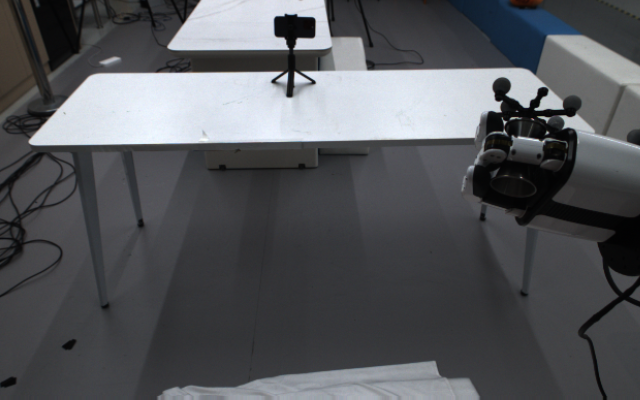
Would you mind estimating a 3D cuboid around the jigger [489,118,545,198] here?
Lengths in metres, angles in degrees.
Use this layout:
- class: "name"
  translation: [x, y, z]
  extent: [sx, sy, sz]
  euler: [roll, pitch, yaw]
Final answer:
- class: "jigger"
  translation: [0.201, -0.043, 0.488]
  extent: [0.043, 0.043, 0.071]
  euler: [13, 73, 15]
